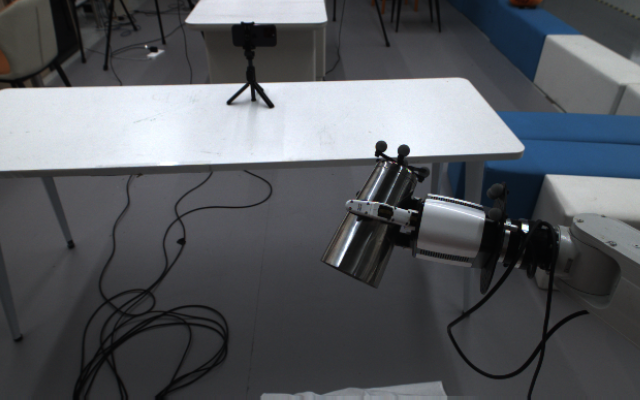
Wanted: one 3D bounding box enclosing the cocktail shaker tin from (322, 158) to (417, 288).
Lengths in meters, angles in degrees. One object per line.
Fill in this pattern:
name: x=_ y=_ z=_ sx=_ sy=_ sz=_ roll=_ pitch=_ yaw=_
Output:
cocktail shaker tin: x=0.080 y=0.028 z=0.705 sx=0.093 sy=0.093 sz=0.170 roll=21 pitch=81 yaw=25
